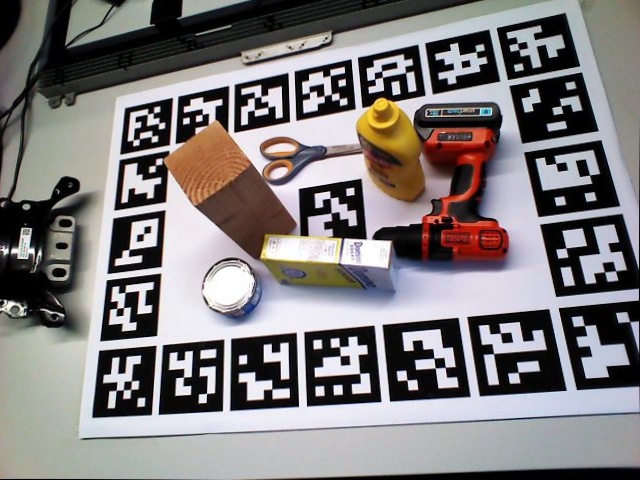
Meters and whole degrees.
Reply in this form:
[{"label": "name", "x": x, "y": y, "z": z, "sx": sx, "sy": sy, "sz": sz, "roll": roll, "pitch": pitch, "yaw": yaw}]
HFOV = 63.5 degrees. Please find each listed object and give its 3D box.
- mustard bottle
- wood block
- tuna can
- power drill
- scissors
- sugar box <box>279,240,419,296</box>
[{"label": "mustard bottle", "x": 0.115, "y": -0.116, "z": 0.690, "sx": 0.058, "sy": 0.191, "sz": 0.096, "roll": -46, "pitch": 67, "yaw": -3}, {"label": "wood block", "x": -0.096, "y": -0.052, "z": 0.721, "sx": 0.091, "sy": 0.206, "sz": 0.090, "roll": -35, "pitch": 67, "yaw": 1}, {"label": "tuna can", "x": -0.112, "y": 0.079, "z": 0.760, "sx": 0.086, "sy": 0.034, "sz": 0.085, "roll": -5, "pitch": 71, "yaw": 13}, {"label": "power drill", "x": 0.179, "y": -0.056, "z": 0.715, "sx": 0.185, "sy": 0.057, "sz": 0.186, "roll": 5, "pitch": 80, "yaw": 17}, {"label": "scissors", "x": -0.003, "y": -0.129, "z": 0.814, "sx": 0.204, "sy": 0.016, "sz": 0.087, "roll": -6, "pitch": 66, "yaw": 14}, {"label": "sugar box", "x": 0.042, "y": 0.040, "z": 0.703, "sx": 0.177, "sy": 0.093, "sz": 0.045, "roll": 4, "pitch": 69, "yaw": 15}]
